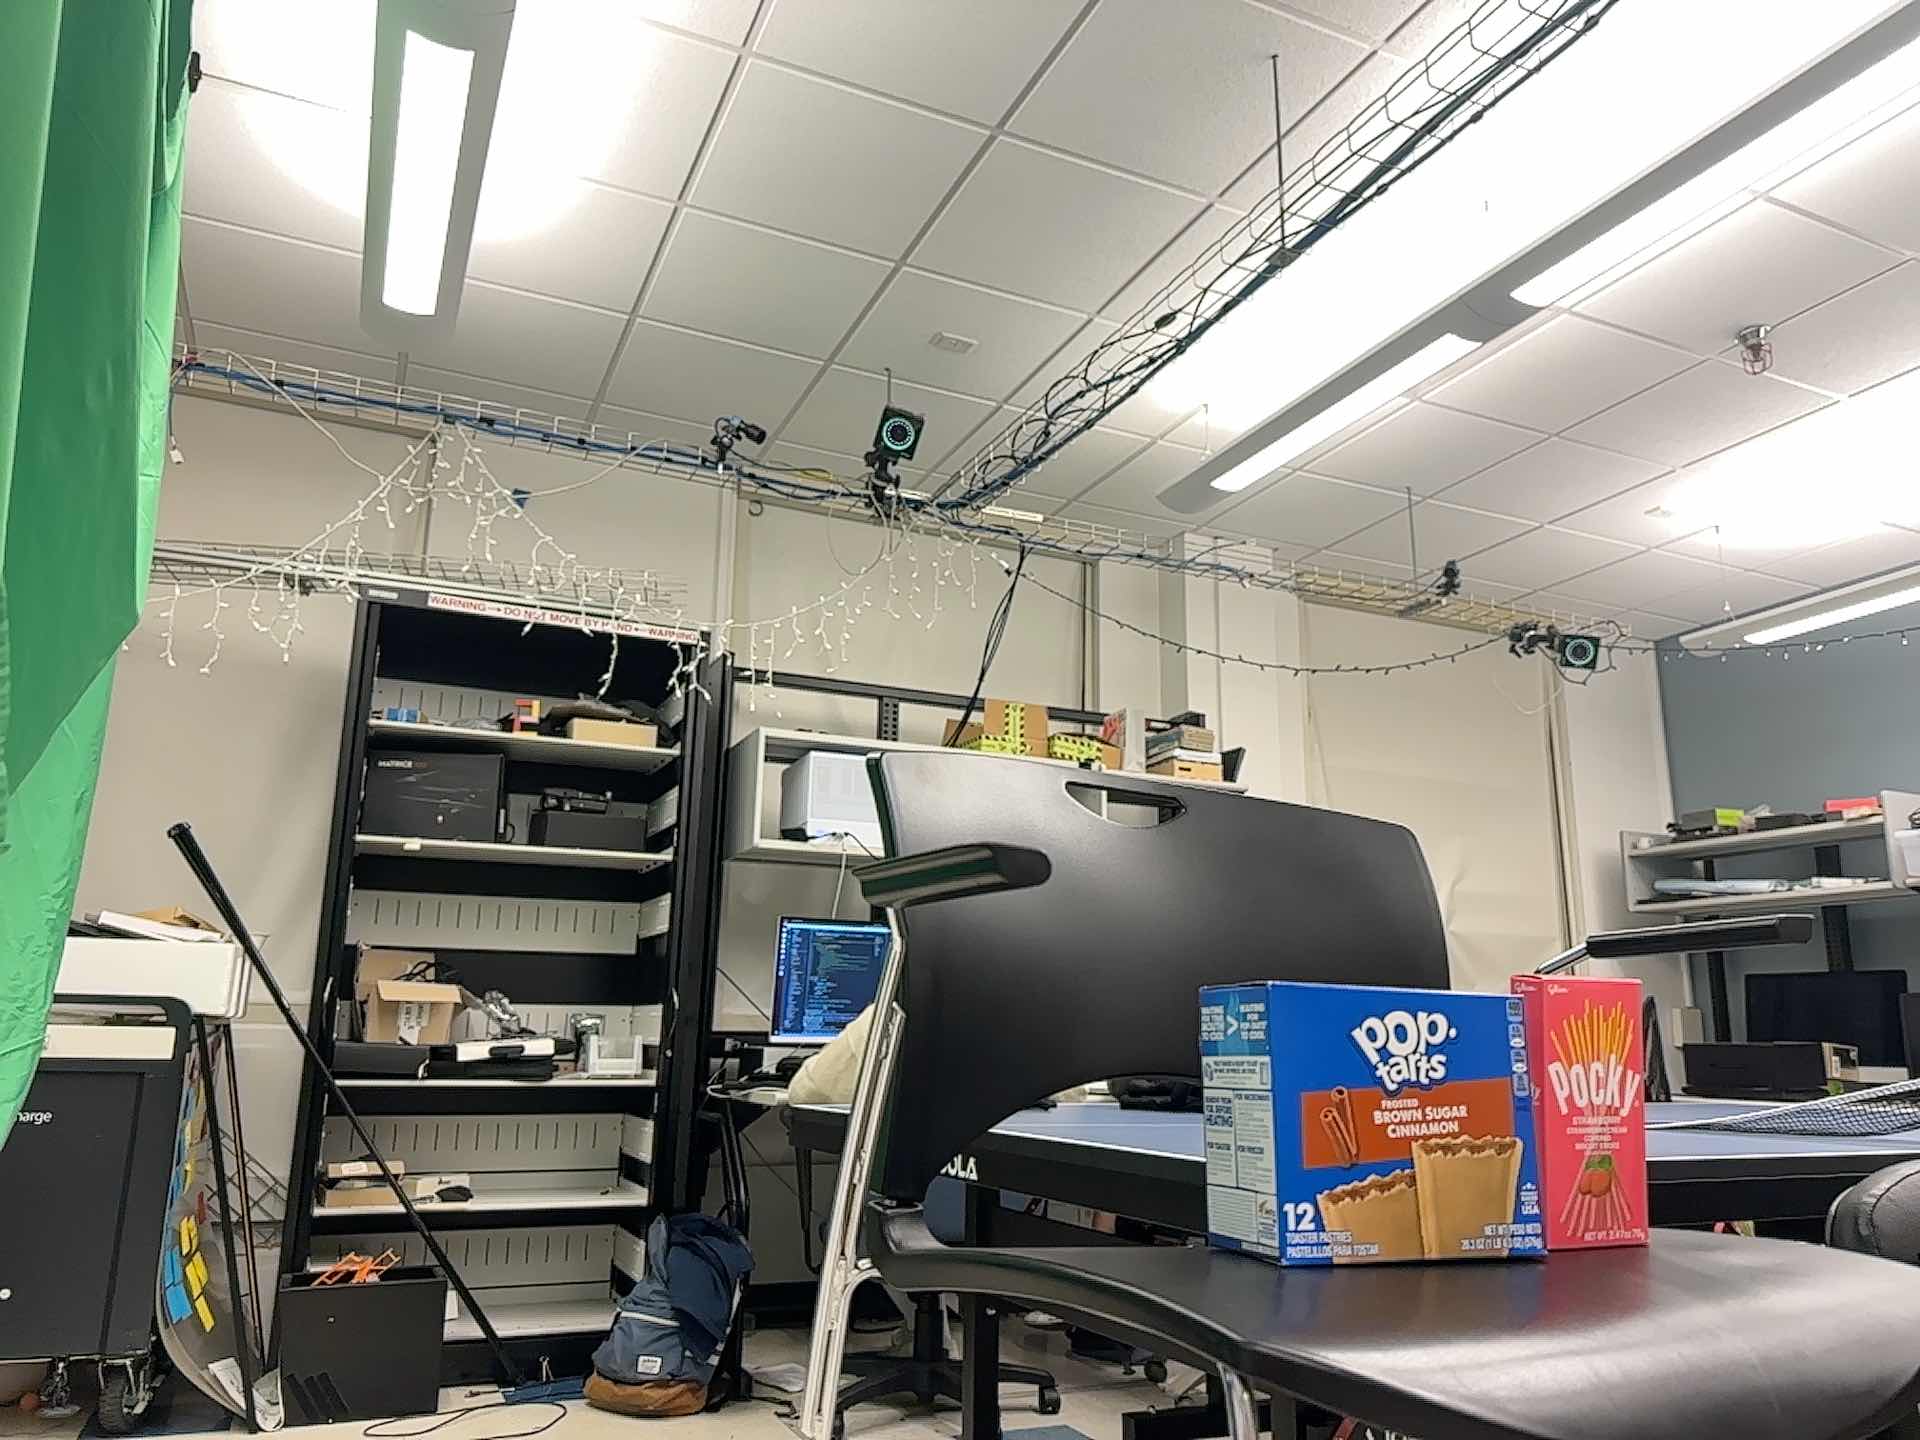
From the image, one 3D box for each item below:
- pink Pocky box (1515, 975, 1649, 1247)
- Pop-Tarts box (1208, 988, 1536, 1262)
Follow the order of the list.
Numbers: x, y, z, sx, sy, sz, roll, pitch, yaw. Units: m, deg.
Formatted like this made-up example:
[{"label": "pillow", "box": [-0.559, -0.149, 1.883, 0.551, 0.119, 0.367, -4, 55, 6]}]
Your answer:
[{"label": "pink Pocky box", "box": [0.375, 0.233, 0.816, 0.084, 0.155, 0.029, 7, -10, -27]}, {"label": "Pop-Tarts box", "box": [0.236, 0.229, 0.779, 0.161, 0.135, 0.075, 7, -15, -23]}]
